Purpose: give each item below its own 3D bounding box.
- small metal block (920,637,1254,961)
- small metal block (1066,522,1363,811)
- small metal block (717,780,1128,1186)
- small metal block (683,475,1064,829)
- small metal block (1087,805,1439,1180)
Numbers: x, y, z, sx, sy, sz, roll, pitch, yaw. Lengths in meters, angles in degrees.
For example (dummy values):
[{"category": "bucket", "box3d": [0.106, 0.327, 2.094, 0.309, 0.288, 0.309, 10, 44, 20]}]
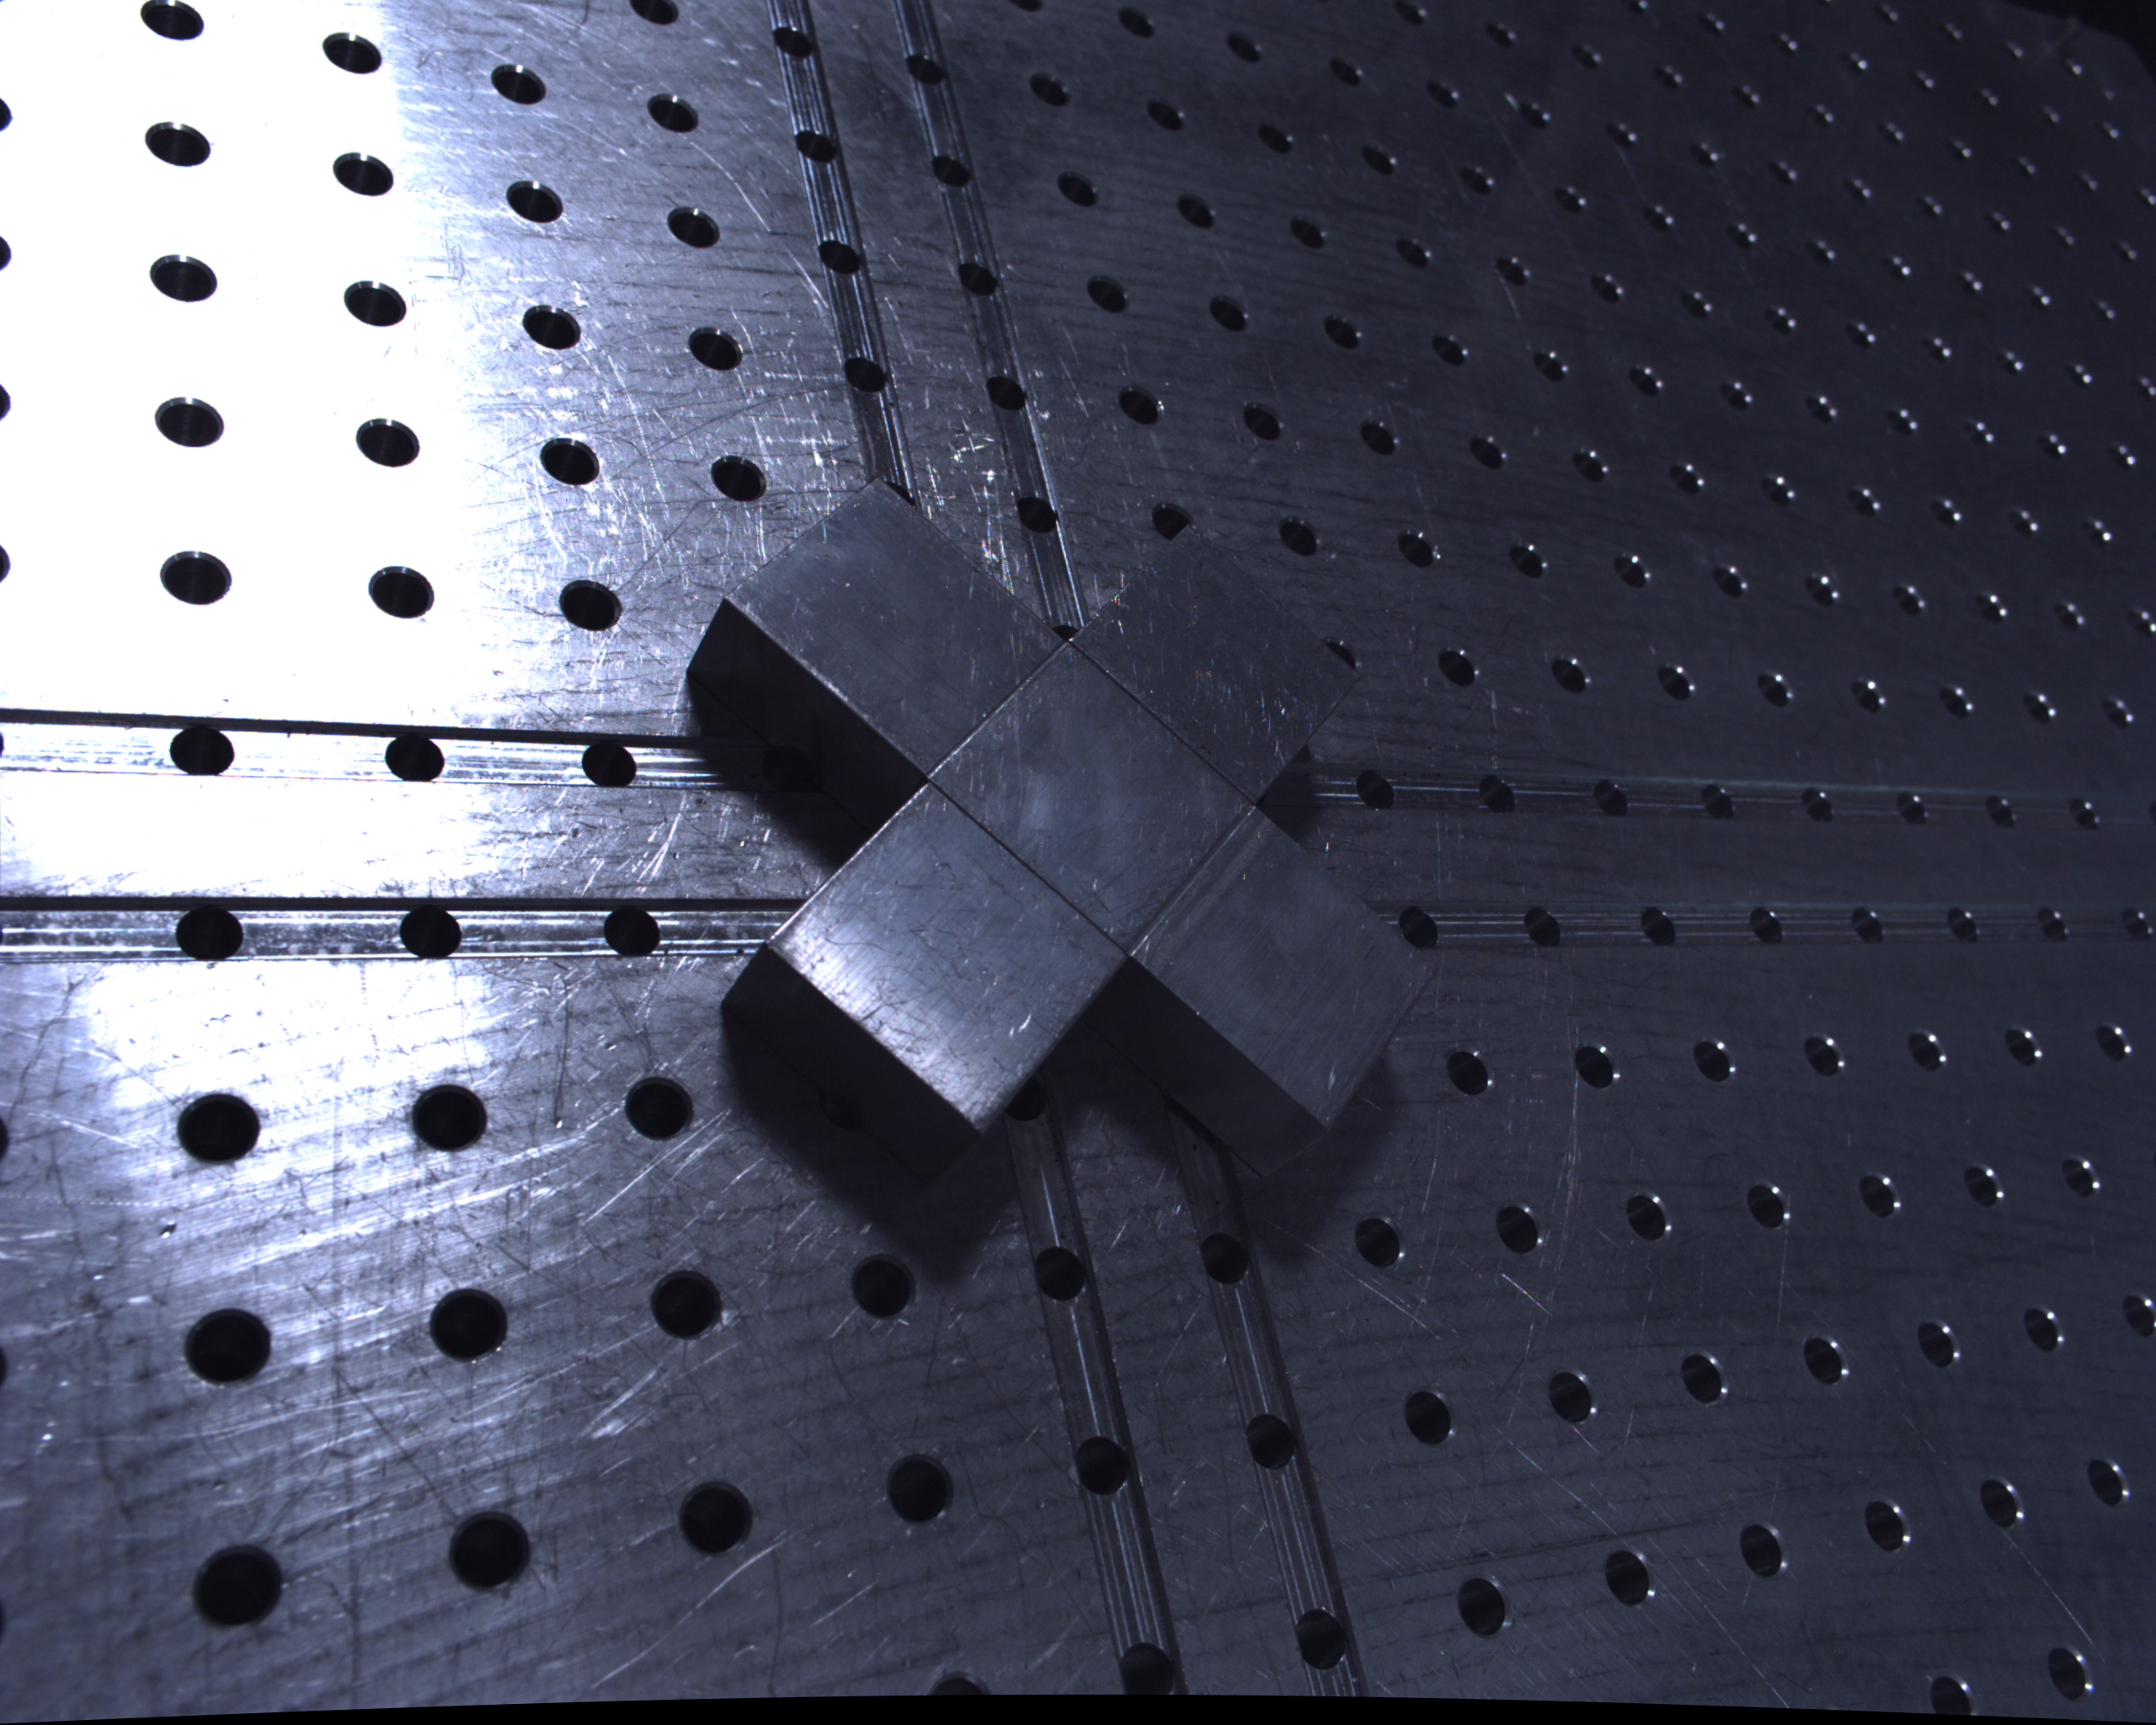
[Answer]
[{"category": "small metal block", "box3d": [-0.002, -0.008, 0.412, 0.050, 0.025, 0.050, 42, 51, 0]}, {"category": "small metal block", "box3d": [0.025, -0.037, 0.445, 0.050, 0.025, 0.050, 42, 51, 0]}, {"category": "small metal block", "box3d": [-0.028, 0.021, 0.381, 0.050, 0.025, 0.050, 42, 51, 0]}, {"category": "small metal block", "box3d": [-0.040, -0.041, 0.413, 0.050, 0.025, 0.050, 42, 51, 0]}, {"category": "small metal block", "box3d": [0.036, 0.025, 0.413, 0.050, 0.025, 0.050, 42, 51, 0]}]
